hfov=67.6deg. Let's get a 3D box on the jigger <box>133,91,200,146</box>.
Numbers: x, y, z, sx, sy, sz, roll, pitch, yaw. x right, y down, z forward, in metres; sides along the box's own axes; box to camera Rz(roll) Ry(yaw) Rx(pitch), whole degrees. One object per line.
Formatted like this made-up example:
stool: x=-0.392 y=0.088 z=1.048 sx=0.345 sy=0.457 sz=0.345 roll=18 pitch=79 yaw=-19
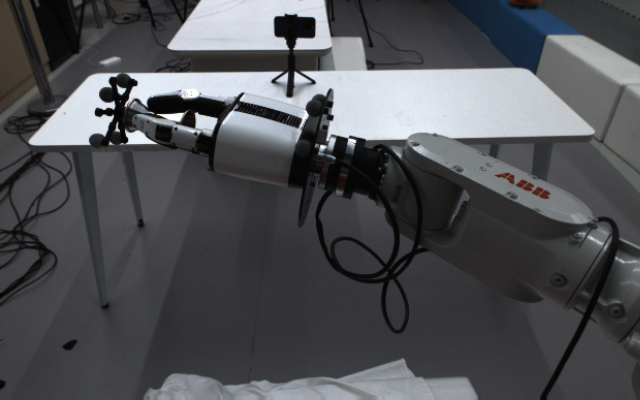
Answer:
jigger: x=-0.181 y=-0.092 z=0.559 sx=0.071 sy=0.043 sz=0.043 roll=14 pitch=36 yaw=4
